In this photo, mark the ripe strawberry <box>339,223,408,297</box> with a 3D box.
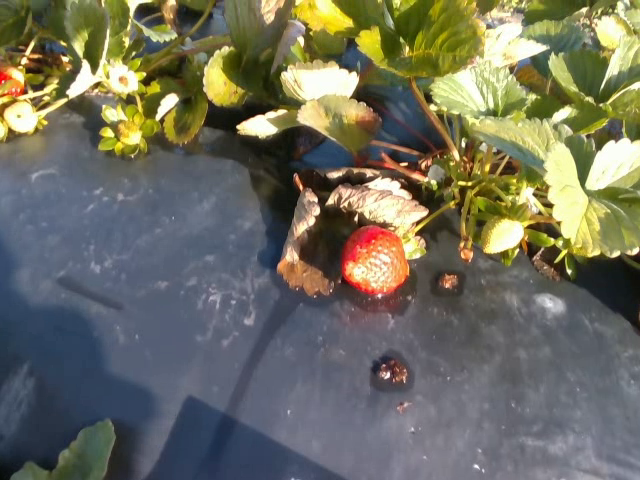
[{"bbox_3d":[0.021,0.014,0.288,0.054,0.046,0.037,-26,-25,-45],"label":"ripe strawberry"}]
